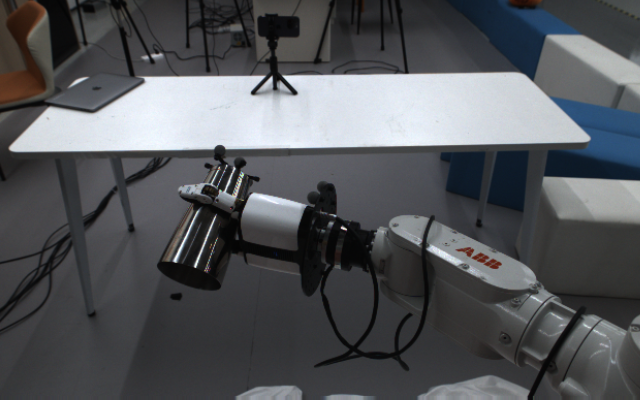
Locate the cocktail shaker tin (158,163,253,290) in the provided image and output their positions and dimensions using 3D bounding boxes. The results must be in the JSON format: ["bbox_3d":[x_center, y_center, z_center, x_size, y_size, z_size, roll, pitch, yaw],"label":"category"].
[{"bbox_3d":[-0.159,0.035,0.701,0.093,0.093,0.170,10,60,11],"label":"cocktail shaker tin"}]
